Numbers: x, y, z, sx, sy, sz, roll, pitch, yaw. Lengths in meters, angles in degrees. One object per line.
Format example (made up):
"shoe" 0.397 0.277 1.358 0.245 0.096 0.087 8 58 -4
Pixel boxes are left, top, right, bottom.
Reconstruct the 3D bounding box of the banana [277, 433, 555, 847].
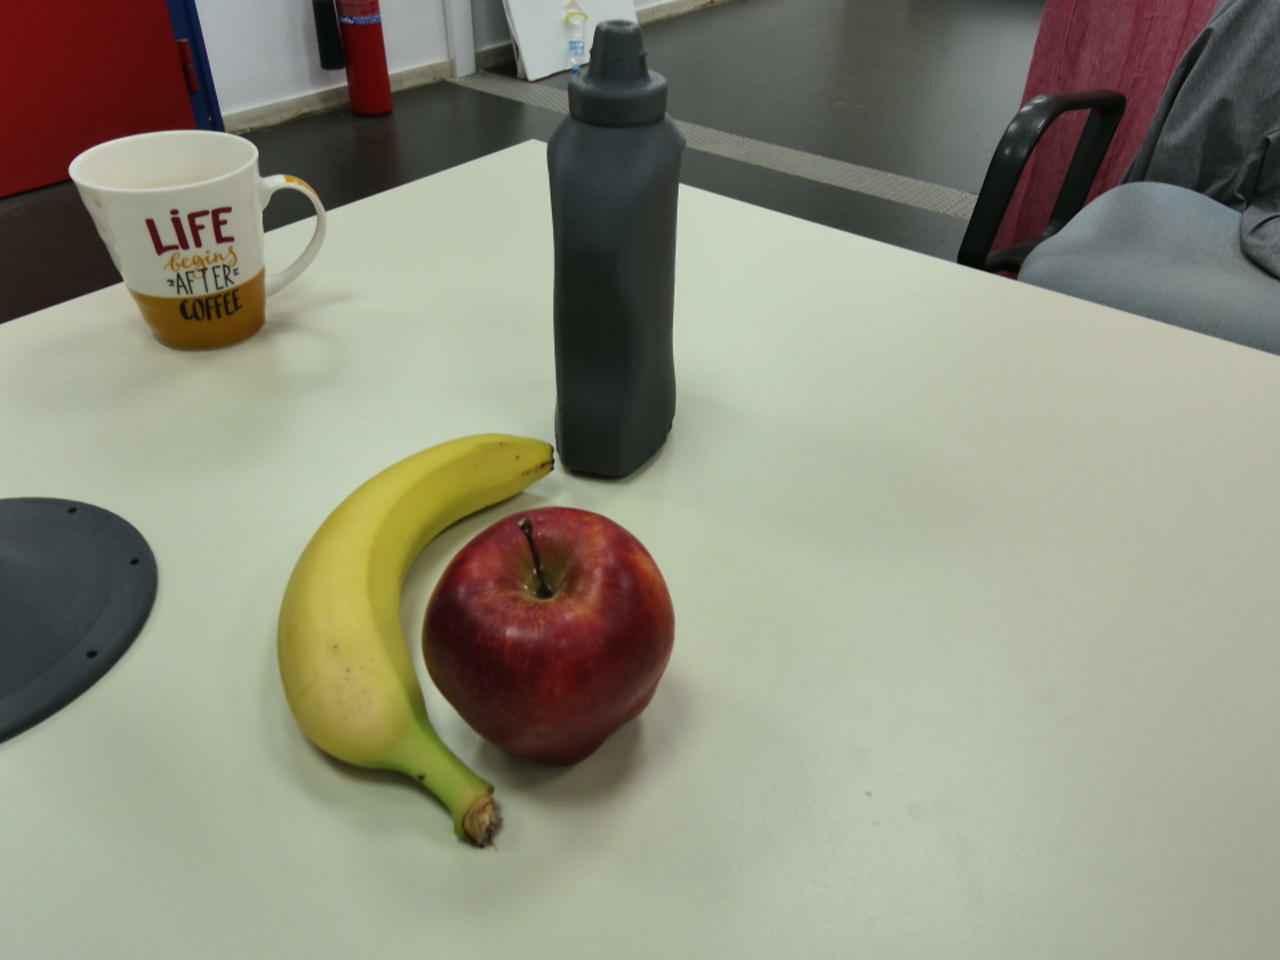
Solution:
"banana" -0.088 0.042 0.386 0.094 0.041 0.196 2 35 1
